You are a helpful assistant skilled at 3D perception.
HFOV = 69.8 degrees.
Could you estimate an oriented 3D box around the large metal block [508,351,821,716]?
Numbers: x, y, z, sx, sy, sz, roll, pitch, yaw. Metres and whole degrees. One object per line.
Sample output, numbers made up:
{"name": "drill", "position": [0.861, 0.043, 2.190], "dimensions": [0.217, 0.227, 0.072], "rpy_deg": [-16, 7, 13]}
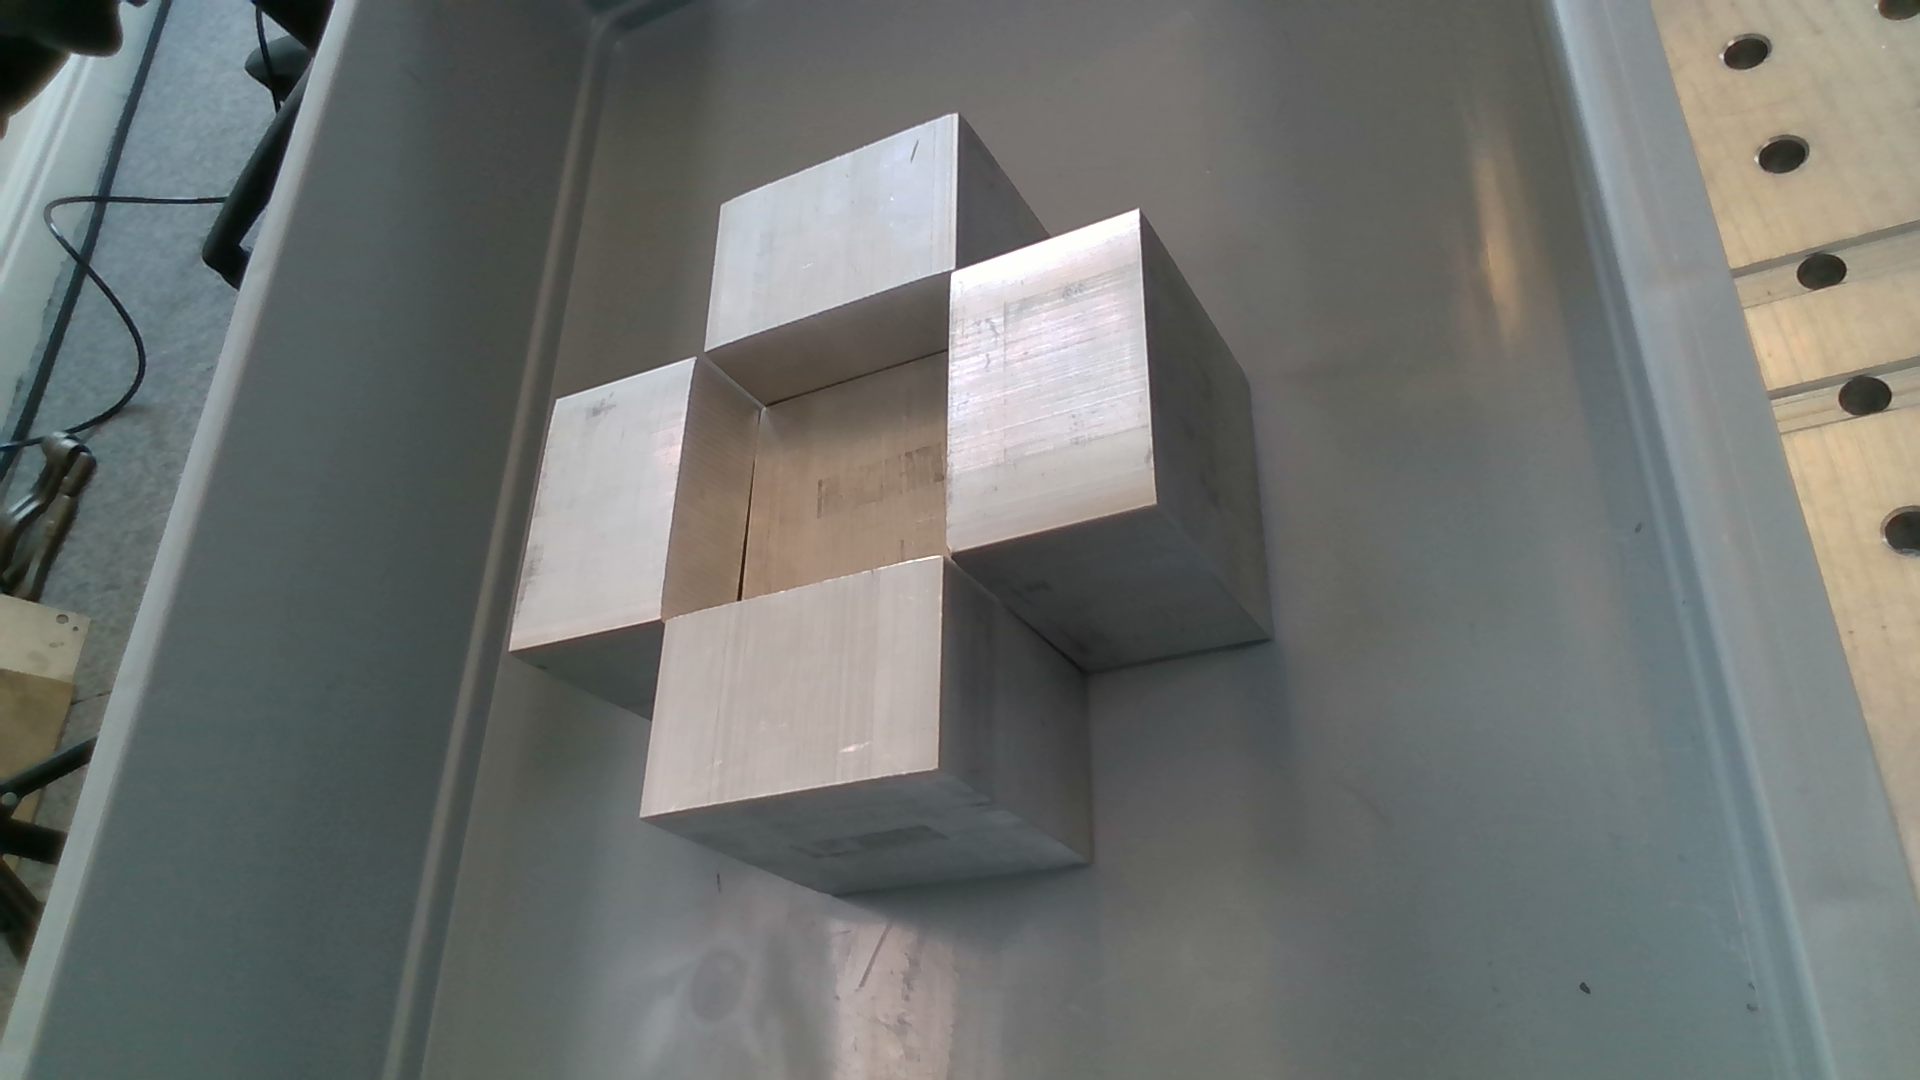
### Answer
{"name": "large metal block", "position": [-0.077, 0.005, 0.401], "dimensions": [0.050, 0.080, 0.080], "rpy_deg": [-13, 60, 26]}

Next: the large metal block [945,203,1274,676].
{"name": "large metal block", "position": [0.038, -0.021, 0.343], "dimensions": [0.050, 0.080, 0.080], "rpy_deg": [-14, 59, 25]}

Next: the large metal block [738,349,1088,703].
{"name": "large metal block", "position": [-0.012, -0.002, 0.383], "dimensions": [0.080, 0.050, 0.080], "rpy_deg": [-14, 59, 25]}

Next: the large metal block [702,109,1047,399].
{"name": "large metal block", "position": [-0.016, -0.067, 0.403], "dimensions": [0.080, 0.080, 0.050], "rpy_deg": [-14, 59, 25]}

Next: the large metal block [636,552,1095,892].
{"name": "large metal block", "position": [-0.020, 0.050, 0.343], "dimensions": [0.080, 0.080, 0.050], "rpy_deg": [-14, 59, 25]}
